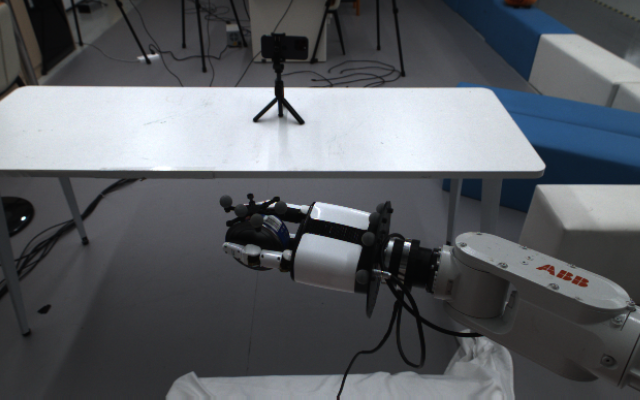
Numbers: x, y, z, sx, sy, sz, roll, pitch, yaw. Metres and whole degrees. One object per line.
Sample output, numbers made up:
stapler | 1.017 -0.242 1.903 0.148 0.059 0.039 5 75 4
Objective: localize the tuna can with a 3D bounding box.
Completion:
tuna can | -0.085 0.055 0.678 0.085 0.085 0.034 11 34 12
